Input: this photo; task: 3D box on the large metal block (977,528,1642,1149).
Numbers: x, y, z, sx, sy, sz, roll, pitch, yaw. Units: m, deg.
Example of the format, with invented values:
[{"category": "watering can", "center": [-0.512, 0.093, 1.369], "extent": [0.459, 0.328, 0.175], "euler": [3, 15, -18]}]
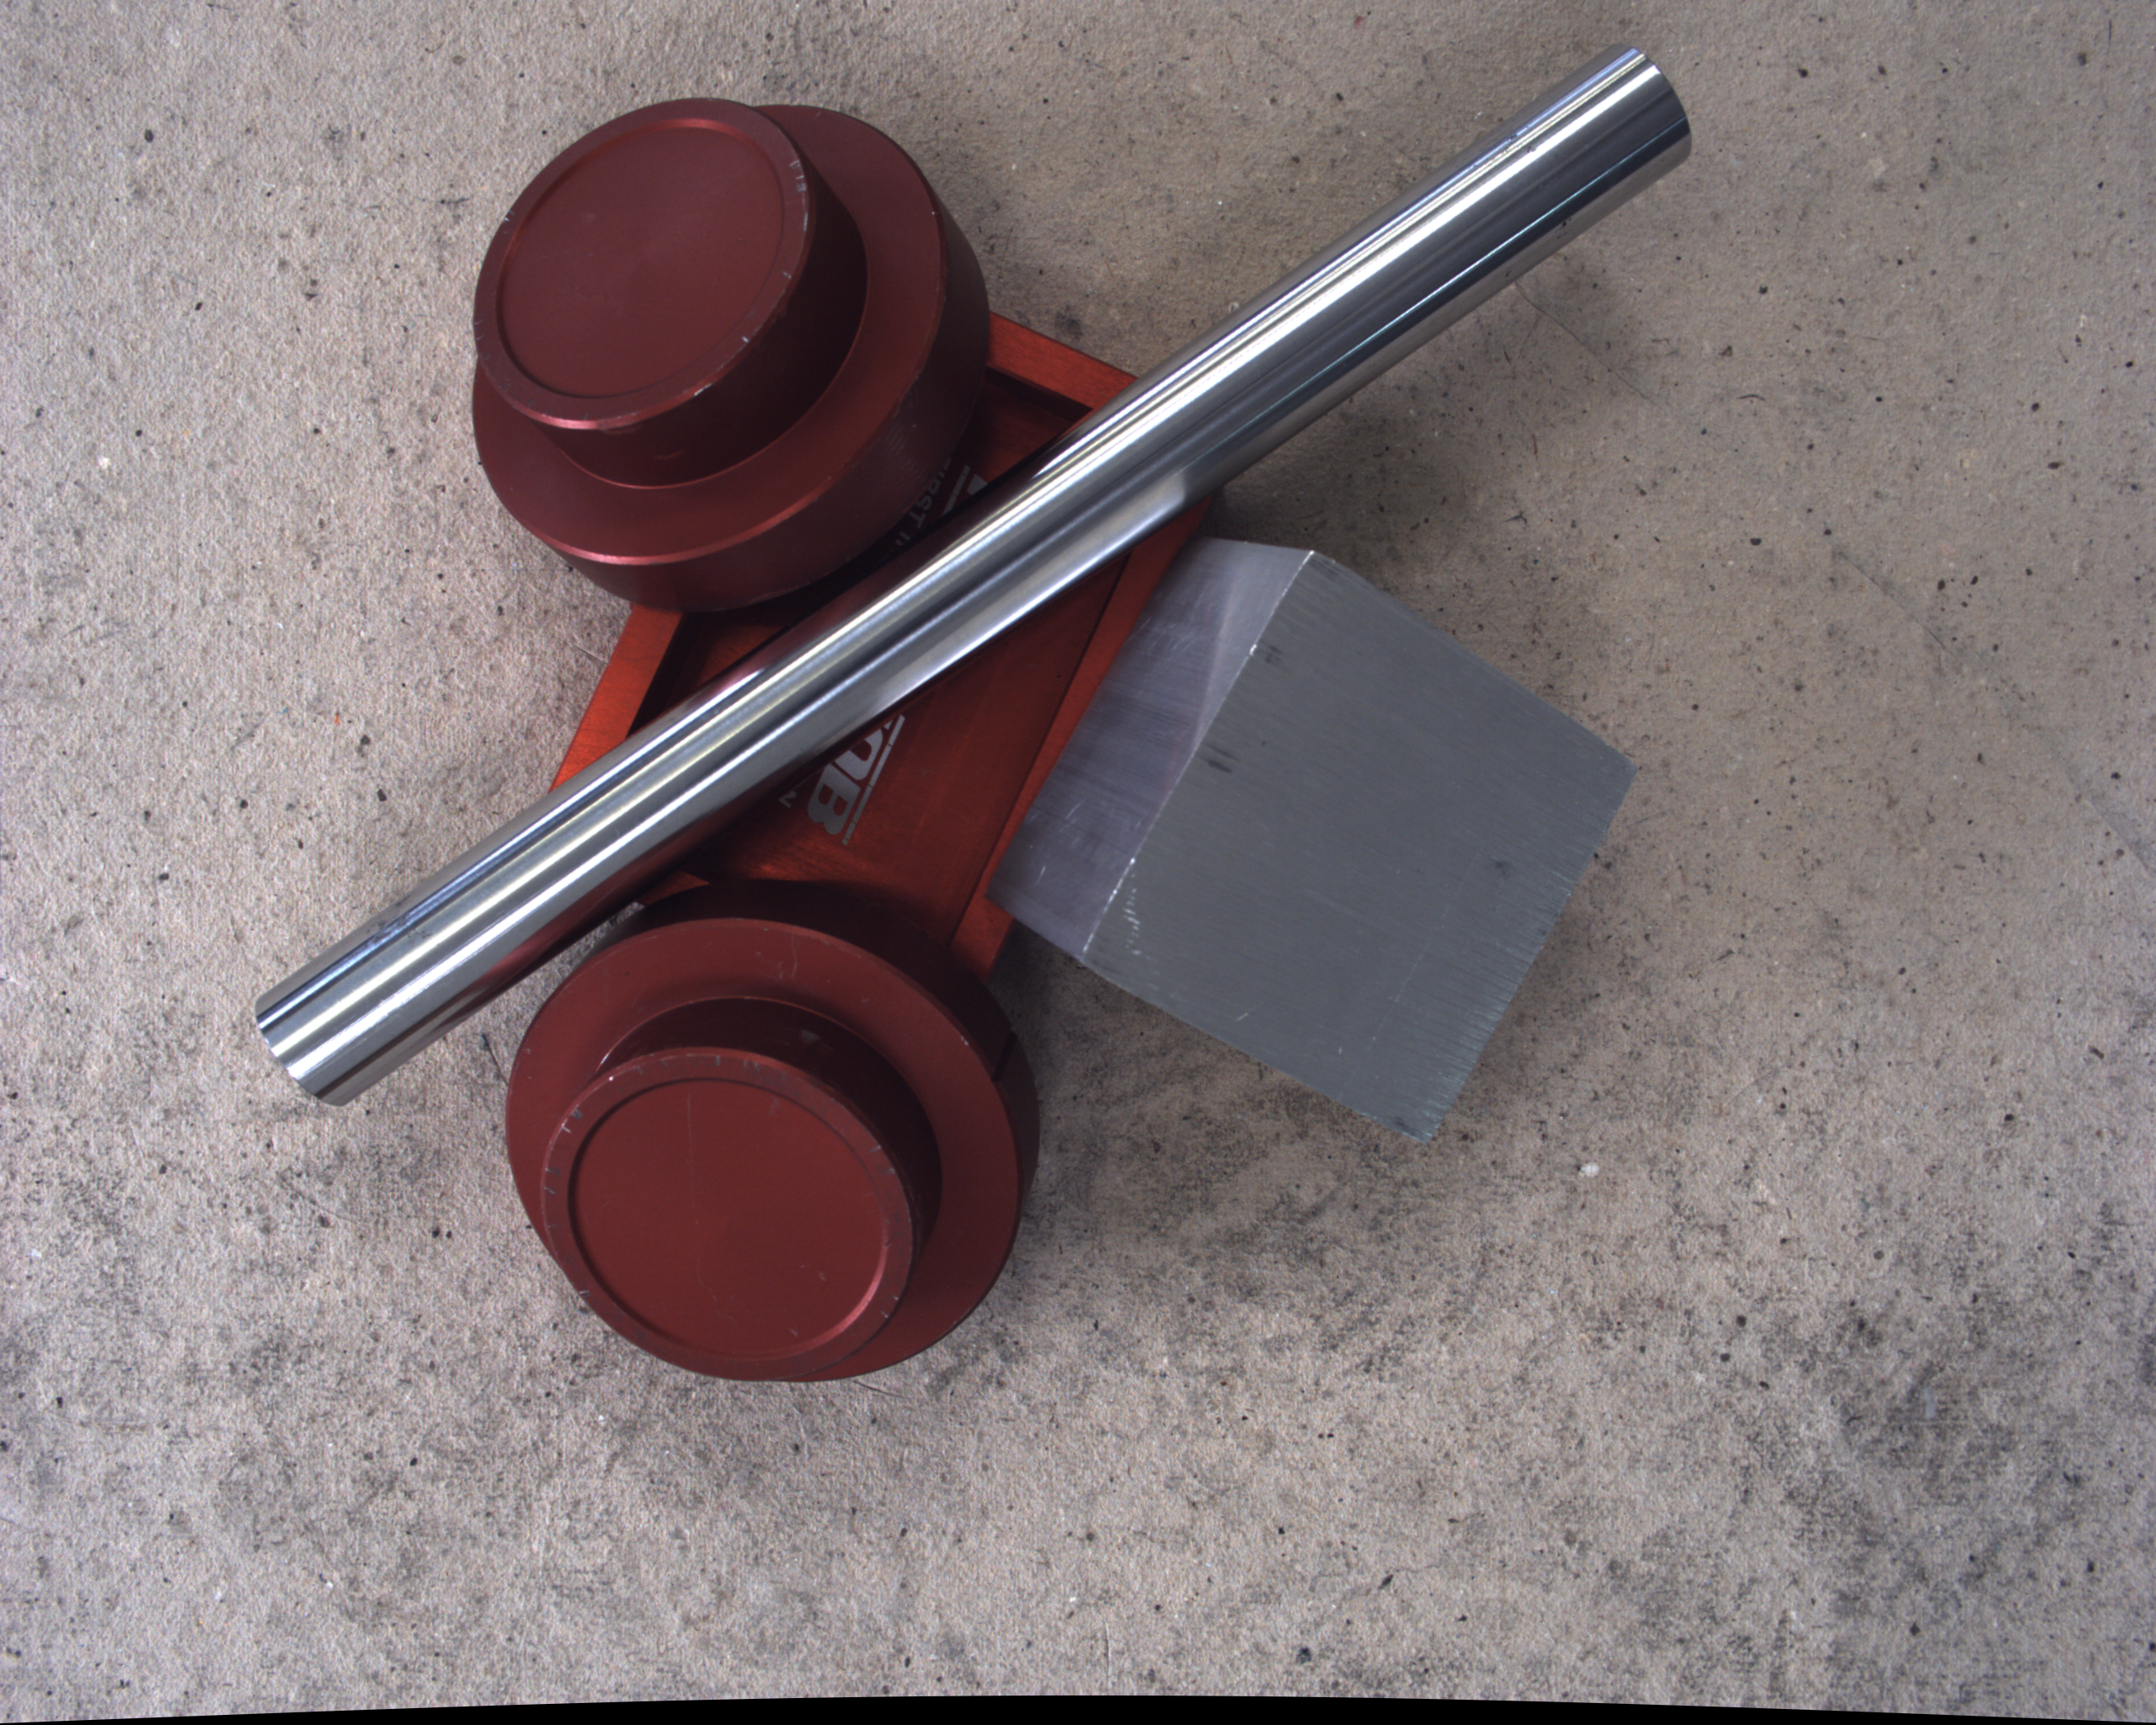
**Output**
[{"category": "large metal block", "center": [0.042, -0.005, 0.385], "extent": [0.080, 0.050, 0.080], "euler": [29, 89, -25]}]

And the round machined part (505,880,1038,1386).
[{"category": "round machined part", "center": [-0.058, 0.056, 0.385], "extent": [0.099, 0.042, 0.097], "euler": [2, 111, 6]}]

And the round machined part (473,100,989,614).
[{"category": "round machined part", "center": [-0.070, -0.098, 0.382], "extent": [0.098, 0.042, 0.098], "euler": [-7, 68, 19]}]

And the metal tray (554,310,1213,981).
[{"category": "metal tray", "center": [-0.037, -0.043, 0.408], "extent": [0.090, 0.030, 0.129], "euler": [25, 90, 0]}]

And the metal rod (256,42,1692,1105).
[{"category": "metal rod", "center": [-0.018, -0.053, 0.382], "extent": [0.301, 0.025, 0.025], "euler": [-35, 90, 0]}]
